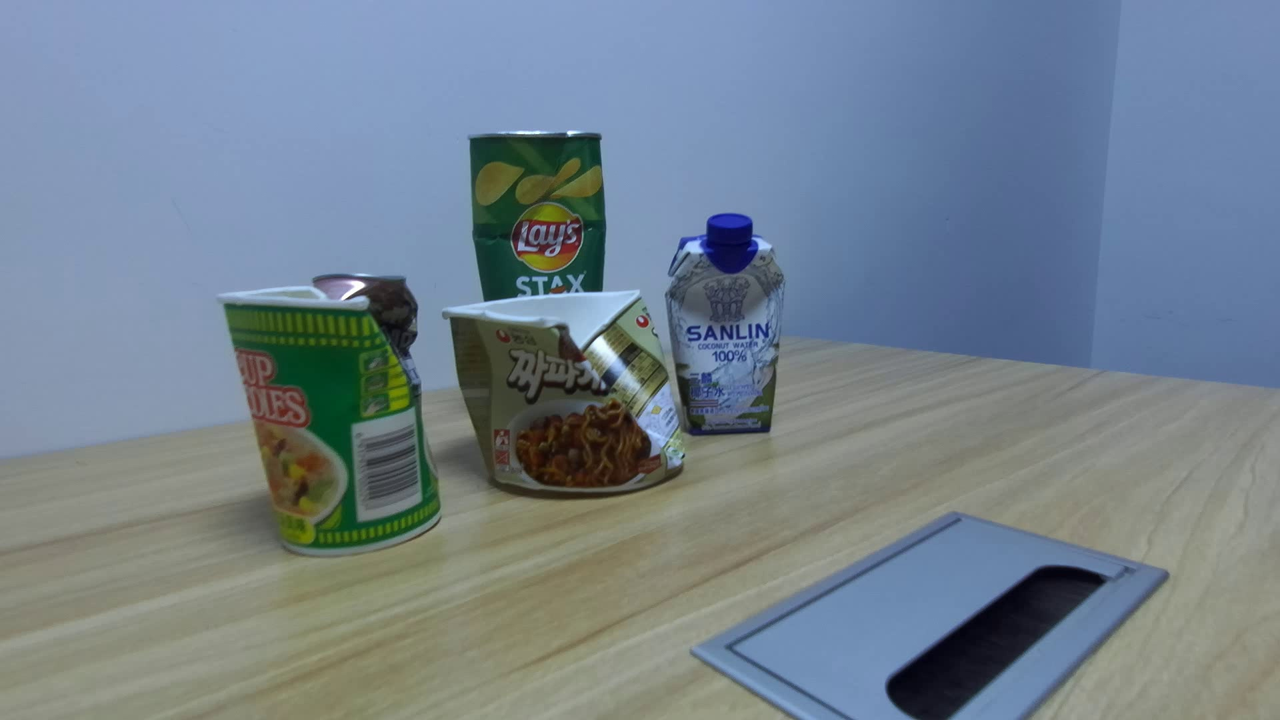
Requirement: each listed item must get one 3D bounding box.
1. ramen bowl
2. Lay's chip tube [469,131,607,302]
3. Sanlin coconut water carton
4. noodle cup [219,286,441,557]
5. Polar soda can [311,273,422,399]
[{"bbox_3d":[-0.038,0.012,0.401,0.137,0.098,0.137,-1,9,0],"label":"ramen bowl"},{"bbox_3d":[-0.070,-0.059,0.510,0.068,0.199,0.075,6,13,34],"label":"Lay's chip tube"},{"bbox_3d":[0.056,-0.023,0.465,0.078,0.142,0.057,-2,15,-3],"label":"Sanlin coconut water carton"},{"bbox_3d":[-0.153,0.022,0.356,0.075,0.122,0.082,-9,22,-2],"label":"noodle cup"},{"bbox_3d":[-0.172,0.002,0.444,0.070,0.114,0.074,-1,14,-25],"label":"Polar soda can"}]
